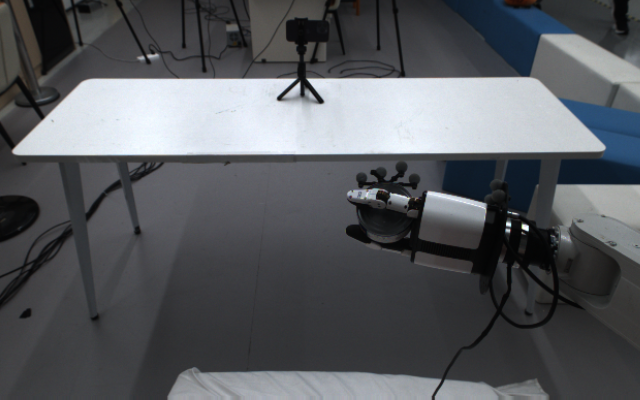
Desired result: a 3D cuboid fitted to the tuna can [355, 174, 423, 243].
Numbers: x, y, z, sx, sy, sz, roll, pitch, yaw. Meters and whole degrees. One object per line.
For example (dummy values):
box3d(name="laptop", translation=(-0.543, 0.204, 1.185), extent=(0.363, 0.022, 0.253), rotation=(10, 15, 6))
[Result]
box3d(name="tuna can", translation=(0.098, 0.023, 0.707), extent=(0.085, 0.034, 0.085), rotation=(-4, 62, 7))
